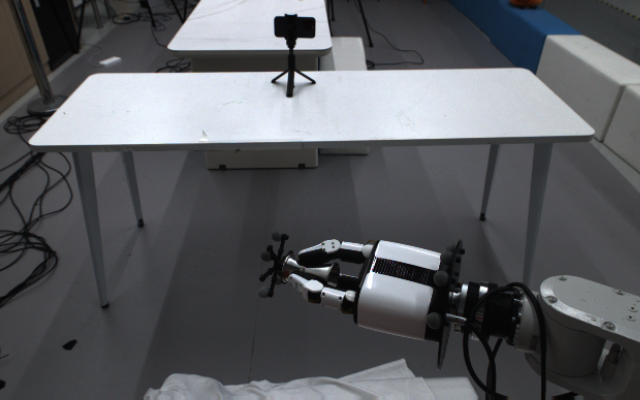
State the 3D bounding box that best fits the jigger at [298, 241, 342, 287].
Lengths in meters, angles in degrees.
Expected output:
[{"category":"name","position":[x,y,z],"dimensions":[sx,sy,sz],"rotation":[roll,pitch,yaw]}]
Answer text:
[{"category":"jigger","position":[-0.007,0.096,0.654],"dimensions":[0.071,0.043,0.043],"rotation":[10,35,22]}]
